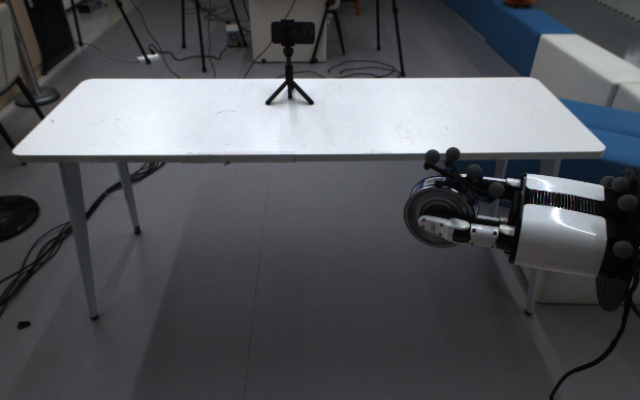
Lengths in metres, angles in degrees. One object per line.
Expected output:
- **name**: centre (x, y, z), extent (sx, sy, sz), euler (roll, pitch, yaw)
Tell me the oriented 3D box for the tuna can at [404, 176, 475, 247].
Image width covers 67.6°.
- **tuna can**: centre (0.150, 0.021, 0.582), extent (0.085, 0.085, 0.034), euler (15, 31, 18)
